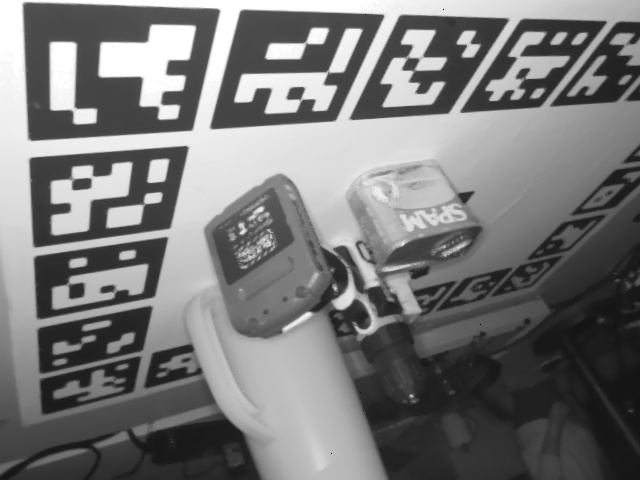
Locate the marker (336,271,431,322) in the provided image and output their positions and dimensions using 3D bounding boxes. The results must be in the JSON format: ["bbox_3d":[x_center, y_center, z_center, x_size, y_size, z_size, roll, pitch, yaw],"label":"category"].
[{"bbox_3d":[0.078,0.067,0.833,0.122,0.019,0.019,-22,148,-8],"label":"marker"}]

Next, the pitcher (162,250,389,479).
[{"bbox_3d":[-0.043,0.134,0.647,0.132,0.242,0.191,-41,153,18],"label":"pitcher"}]

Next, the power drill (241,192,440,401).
[{"bbox_3d":[0.023,0.047,0.611,0.057,0.184,0.188,-39,141,17],"label":"power drill"}]

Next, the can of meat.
[{"bbox_3d":[0.087,-0.035,0.624,0.103,0.084,0.057,-7,146,-28],"label":"can of meat"}]

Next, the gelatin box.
[{"bbox_3d":[0.056,0.057,0.756,0.091,0.073,0.030,3,135,-36],"label":"gelatin box"}]
